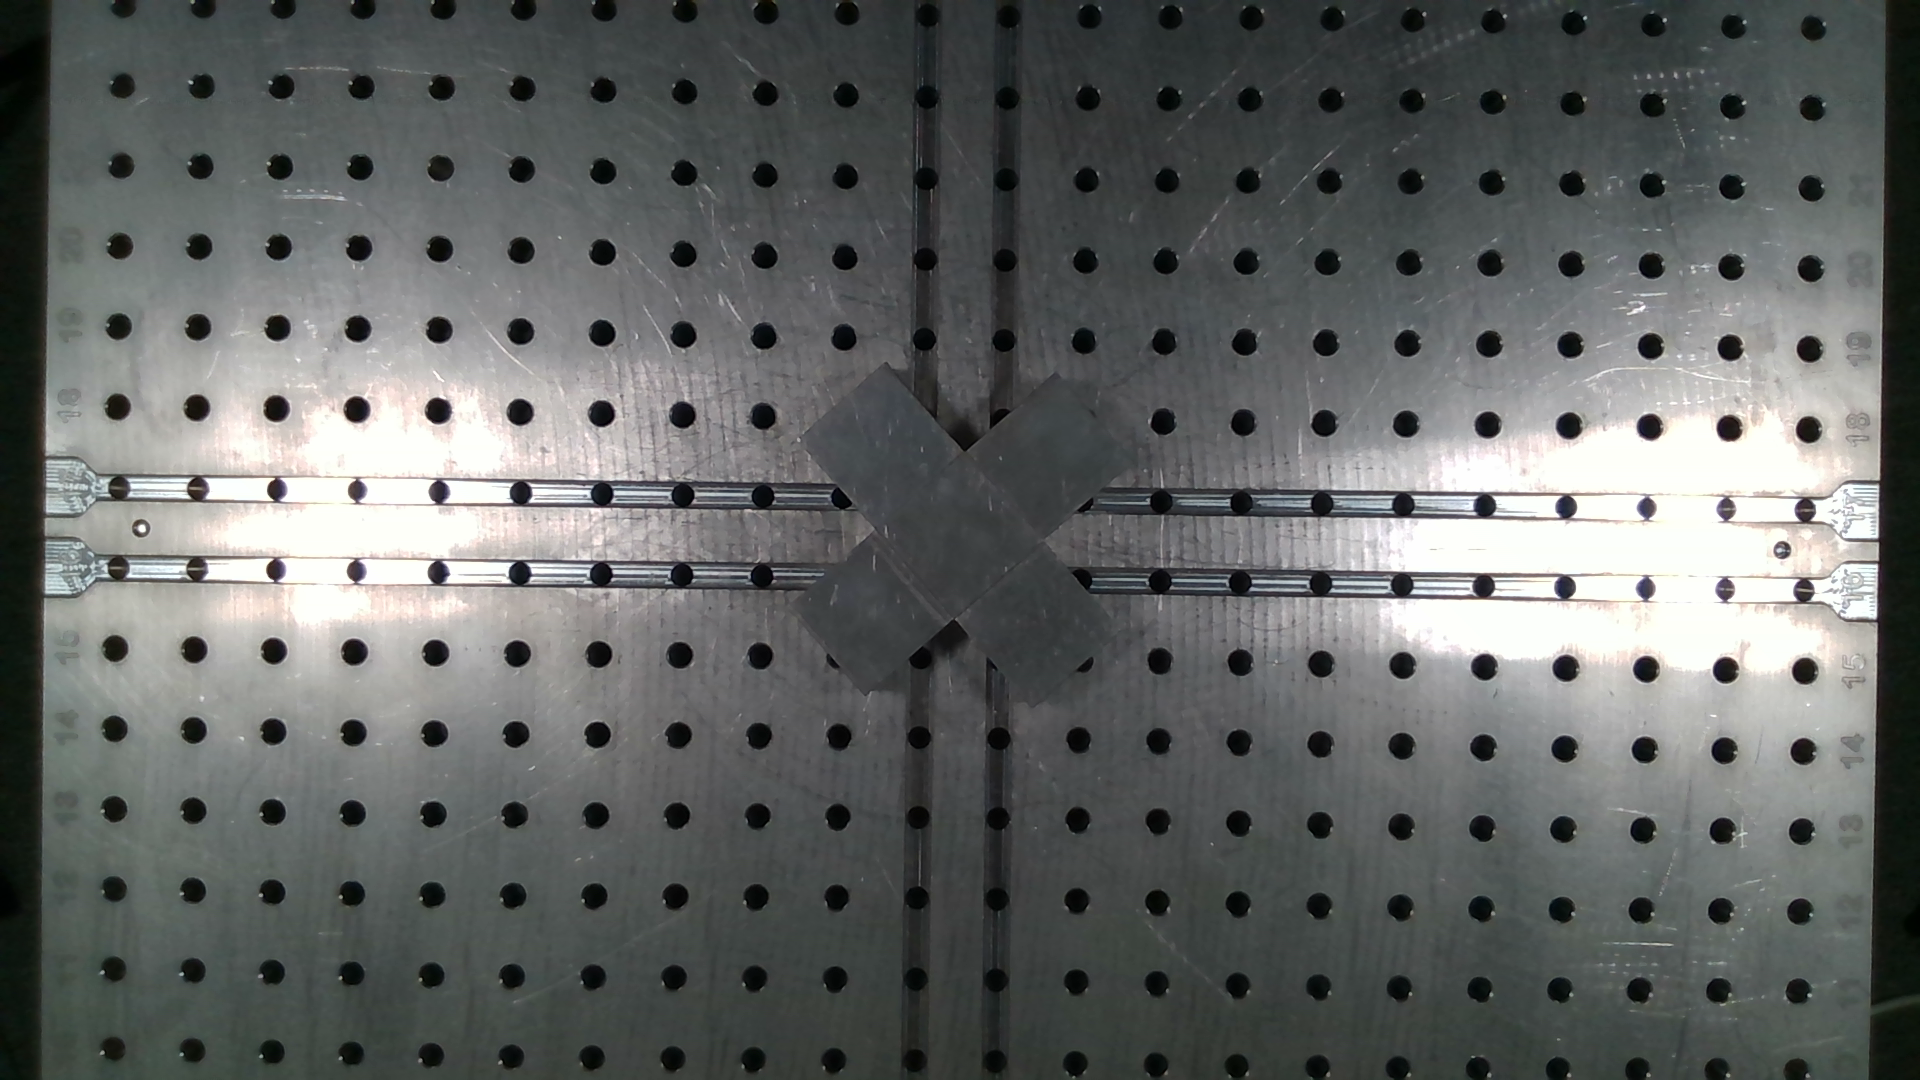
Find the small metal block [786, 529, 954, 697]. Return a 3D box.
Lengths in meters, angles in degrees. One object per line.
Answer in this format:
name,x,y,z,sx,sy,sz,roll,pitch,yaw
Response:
small metal block,-0.038,0.030,0.589,0.050,0.025,0.050,-41,90,0

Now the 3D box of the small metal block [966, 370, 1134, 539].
small metal block,0.038,-0.036,0.589,0.050,0.025,0.050,-41,90,0

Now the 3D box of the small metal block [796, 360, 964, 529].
small metal block,-0.034,-0.040,0.589,0.050,0.025,0.050,-41,90,0

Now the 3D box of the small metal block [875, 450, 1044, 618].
small metal block,0.000,-0.003,0.588,0.050,0.025,0.050,-41,90,0

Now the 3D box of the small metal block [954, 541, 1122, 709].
small metal block,0.033,0.036,0.589,0.050,0.025,0.050,-41,90,0
